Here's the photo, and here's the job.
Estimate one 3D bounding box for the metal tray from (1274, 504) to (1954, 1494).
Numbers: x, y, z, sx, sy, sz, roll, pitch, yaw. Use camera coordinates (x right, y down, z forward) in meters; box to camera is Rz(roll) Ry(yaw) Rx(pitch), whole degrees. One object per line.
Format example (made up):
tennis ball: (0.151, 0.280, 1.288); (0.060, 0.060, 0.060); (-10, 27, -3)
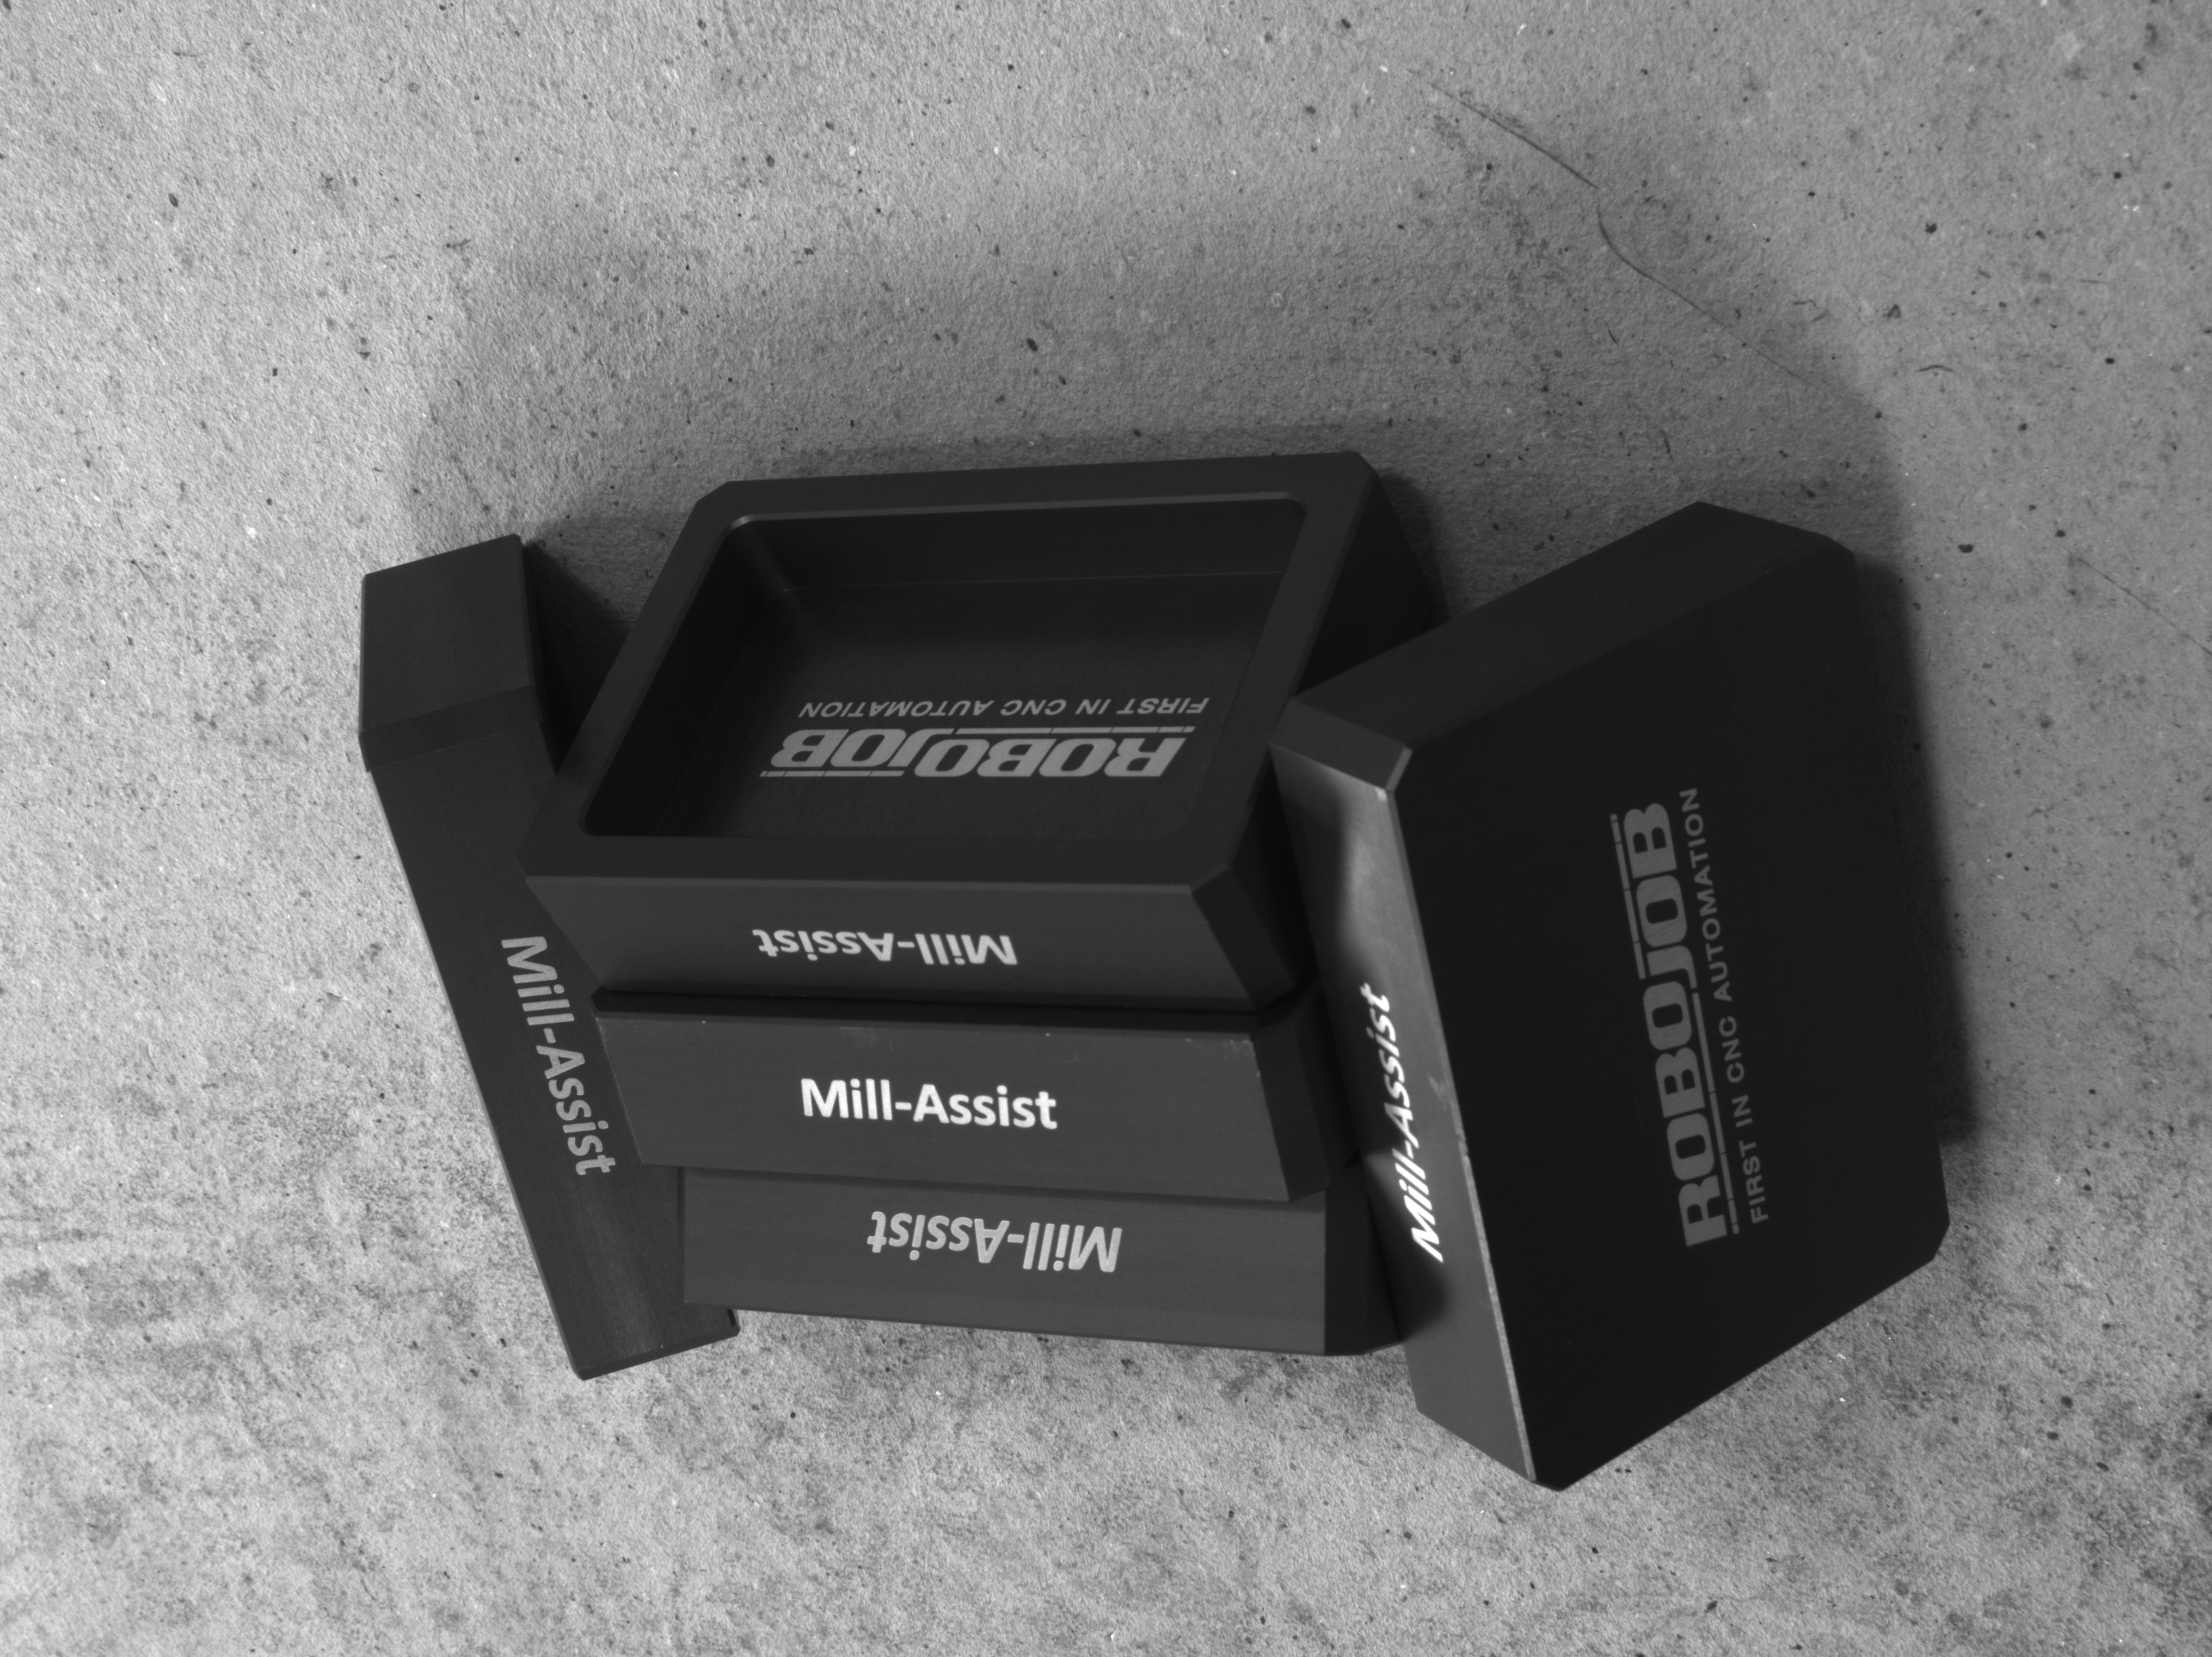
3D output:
metal tray: (0.082, 0.026, 0.571); (0.030, 0.090, 0.130); (26, 136, 54)

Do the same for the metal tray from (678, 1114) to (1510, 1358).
metal tray: (0.003, 0.067, 0.639); (0.130, 0.090, 0.030); (1, 89, 28)

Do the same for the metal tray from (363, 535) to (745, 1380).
metal tray: (-0.101, 0.022, 0.669); (0.030, 0.090, 0.130); (-16, 115, -4)

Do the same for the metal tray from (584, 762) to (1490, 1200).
metal tray: (-0.010, 0.023, 0.619); (0.130, 0.090, 0.030); (0, 118, 28)

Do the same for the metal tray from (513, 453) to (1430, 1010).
metal tray: (-0.022, -0.016, 0.599); (0.130, 0.090, 0.030); (0, 140, 28)
